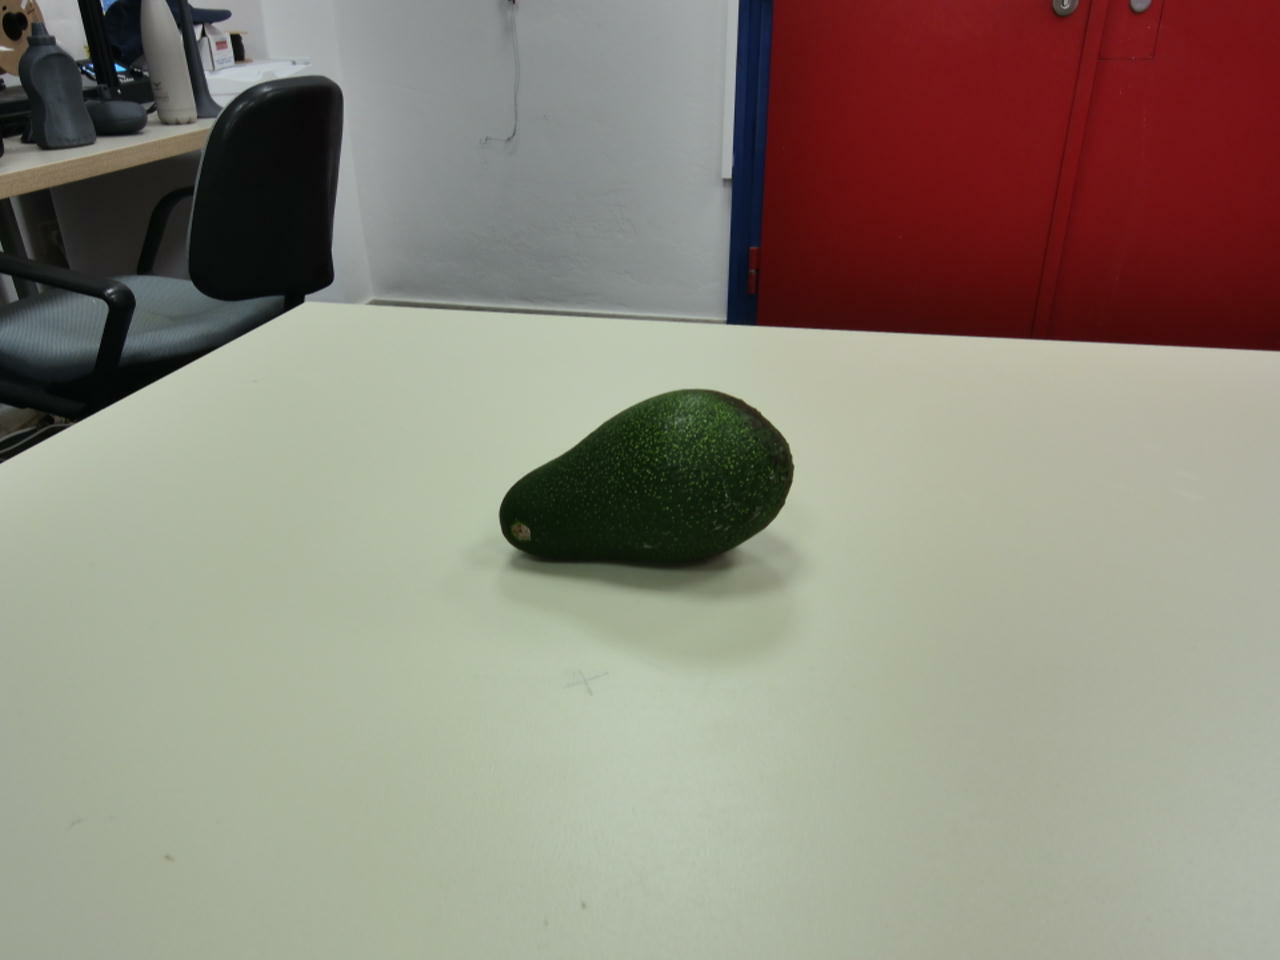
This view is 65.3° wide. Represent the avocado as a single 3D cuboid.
[{"bbox_3d":[0.004,-0.003,0.435,0.123,0.076,0.074,8,25,18],"label":"avocado"}]
